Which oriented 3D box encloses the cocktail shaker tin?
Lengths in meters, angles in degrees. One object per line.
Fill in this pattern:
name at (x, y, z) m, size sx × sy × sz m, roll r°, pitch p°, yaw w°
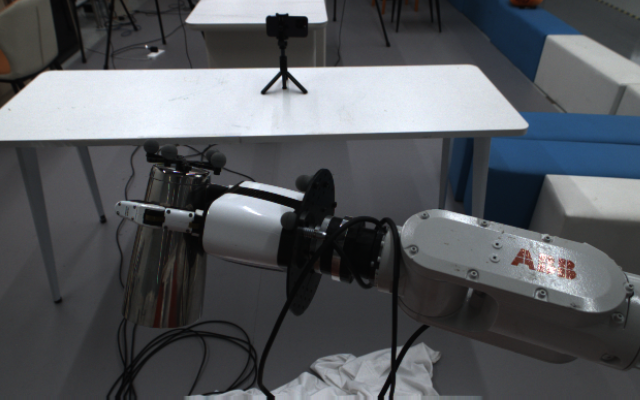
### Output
cocktail shaker tin at (-0.167, 0.047, 0.557) m, size 0.093 × 0.170 × 0.093 m, roll 10°, pitch 9°, yaw -2°
